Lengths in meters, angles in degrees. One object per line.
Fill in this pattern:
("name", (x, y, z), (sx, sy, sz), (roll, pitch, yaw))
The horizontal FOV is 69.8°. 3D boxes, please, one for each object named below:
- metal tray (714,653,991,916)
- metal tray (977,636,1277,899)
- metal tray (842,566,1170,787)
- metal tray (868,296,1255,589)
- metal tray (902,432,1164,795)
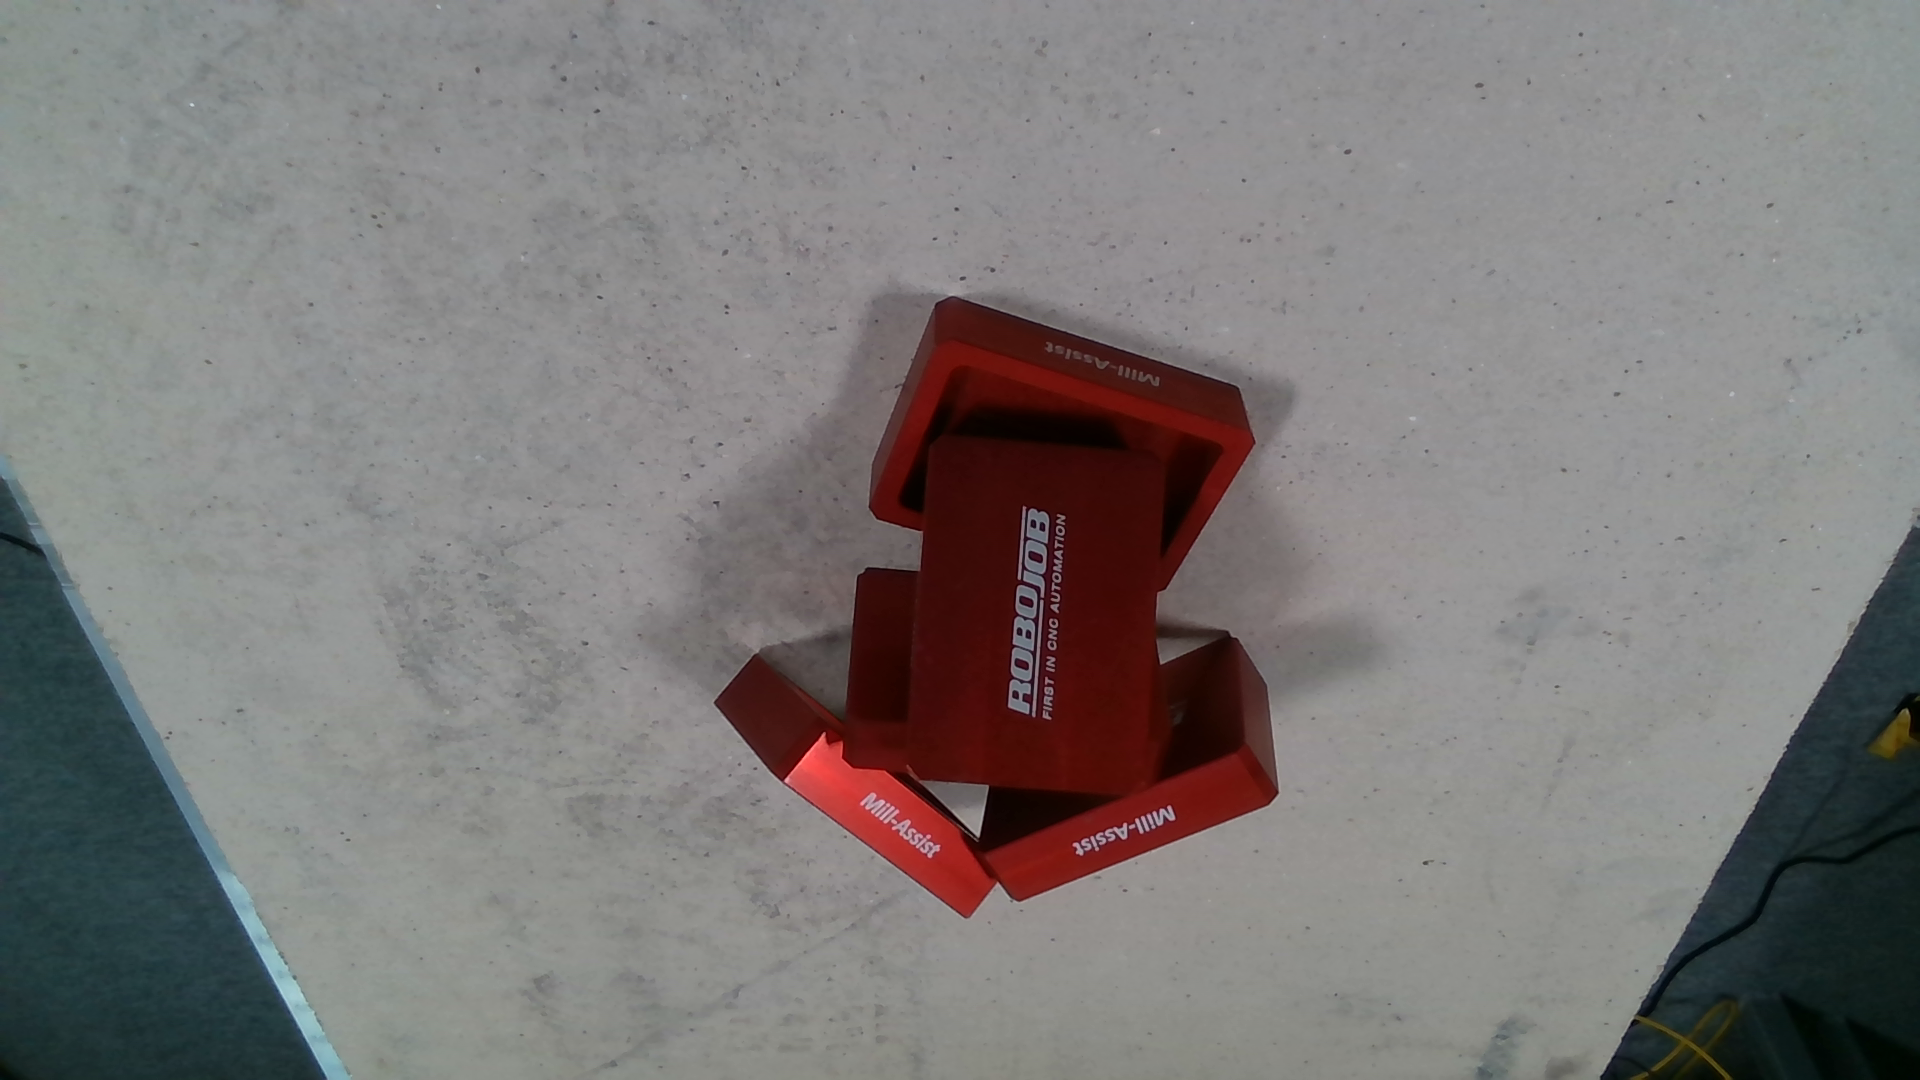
("metal tray", (-0.046, 0.112, 0.631), (0.030, 0.090, 0.130), (-50, 120, -7))
("metal tray", (0.074, 0.101, 0.619), (0.130, 0.090, 0.030), (-27, 111, 21))
("metal tray", (0.018, 0.056, 0.585), (0.130, 0.090, 0.030), (5, 130, -4))
("metal tray", (0.038, -0.035, 0.547), (0.130, 0.030, 0.090), (15, 128, -13))
("metal tray", (0.027, 0.028, 0.530), (0.090, 0.030, 0.130), (5, 85, -4))
